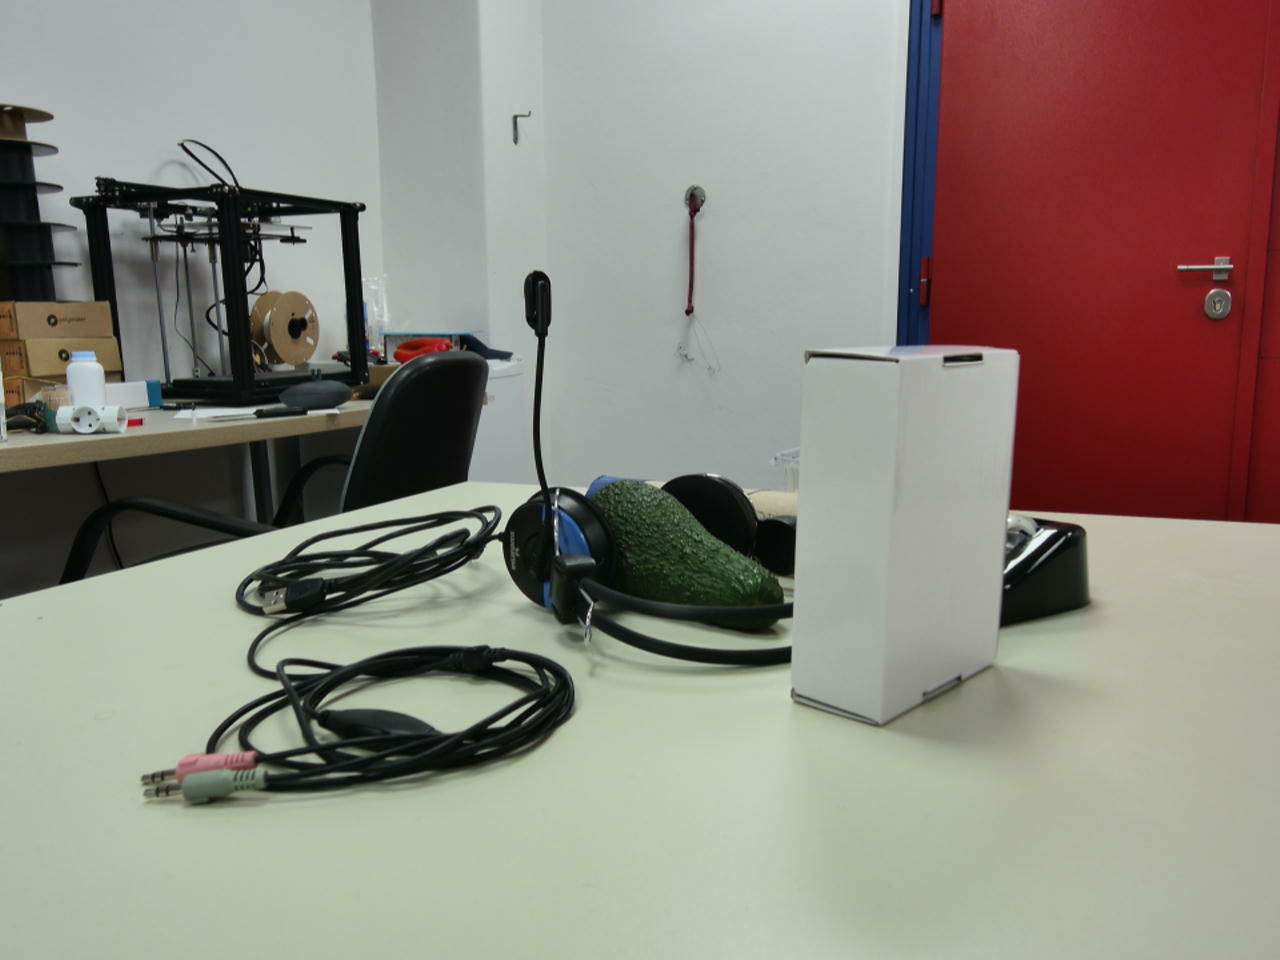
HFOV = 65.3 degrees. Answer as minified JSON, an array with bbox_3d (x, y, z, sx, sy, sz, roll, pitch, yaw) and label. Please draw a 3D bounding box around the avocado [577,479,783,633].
[{"bbox_3d":[0.023,0.036,0.529,0.141,0.067,0.063,5,7,39],"label":"avocado"}]
